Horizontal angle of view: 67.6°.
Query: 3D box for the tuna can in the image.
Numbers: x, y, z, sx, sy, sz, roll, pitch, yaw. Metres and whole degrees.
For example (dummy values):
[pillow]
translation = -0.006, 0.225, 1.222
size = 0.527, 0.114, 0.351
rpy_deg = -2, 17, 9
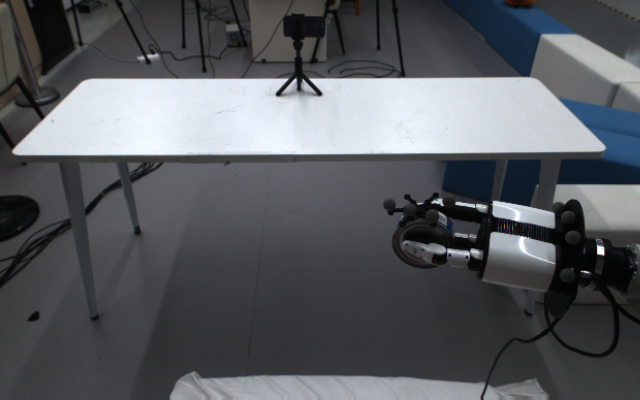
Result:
[tuna can]
translation = 0.148, 0.053, 0.682
size = 0.085, 0.085, 0.034
rpy_deg = 10, 32, 11
